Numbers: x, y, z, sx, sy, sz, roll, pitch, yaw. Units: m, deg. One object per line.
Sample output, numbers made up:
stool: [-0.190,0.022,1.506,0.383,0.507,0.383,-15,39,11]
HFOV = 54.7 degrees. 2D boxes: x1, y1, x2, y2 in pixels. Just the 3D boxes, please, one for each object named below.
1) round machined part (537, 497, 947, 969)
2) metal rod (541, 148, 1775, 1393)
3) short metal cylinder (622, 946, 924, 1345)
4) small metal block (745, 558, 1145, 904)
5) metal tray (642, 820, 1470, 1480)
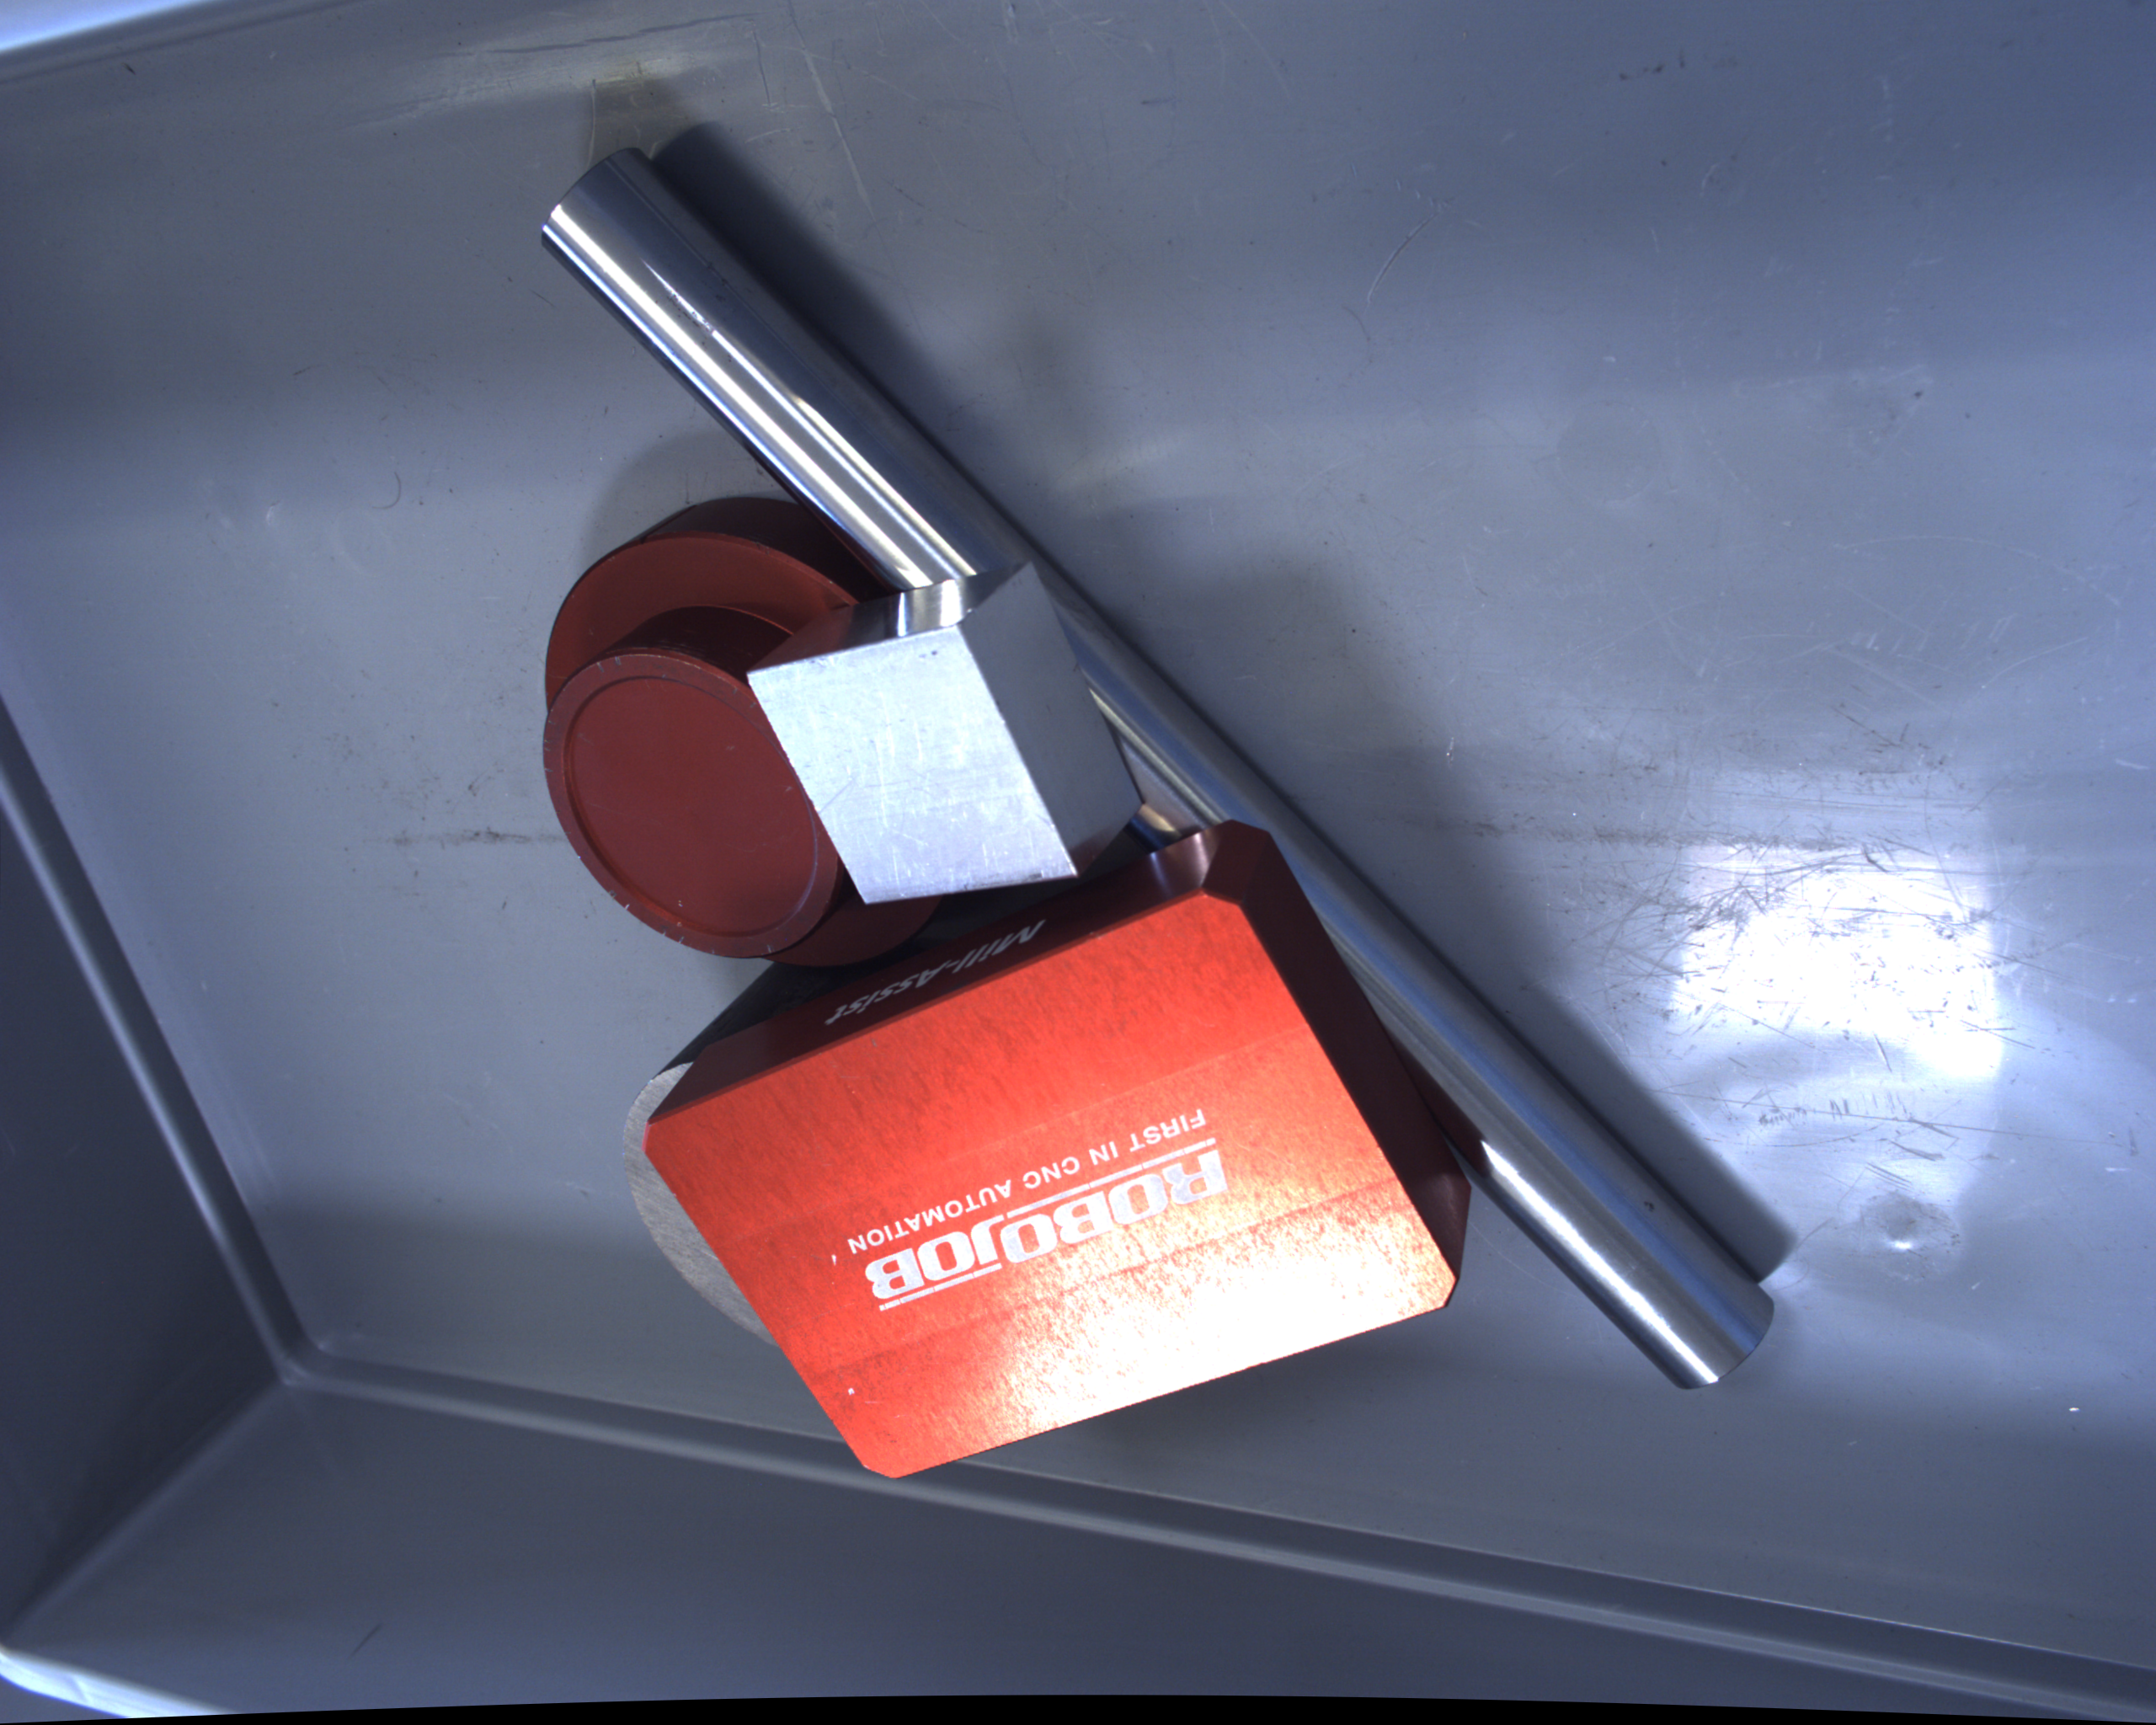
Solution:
round machined part: [-0.067,-0.020,0.417,0.098,0.042,0.097,14,125,21]
metal rod: [0.017,-0.014,0.388,0.300,0.025,0.025,45,129,-4]
short metal cylinder: [-0.051,0.063,0.455,0.080,0.050,0.079,13,124,21]
small metal block: [-0.024,-0.022,0.375,0.050,0.025,0.050,-8,117,37]
metal tray: [-0.004,0.057,0.391,0.130,0.030,0.090,-24,106,23]
